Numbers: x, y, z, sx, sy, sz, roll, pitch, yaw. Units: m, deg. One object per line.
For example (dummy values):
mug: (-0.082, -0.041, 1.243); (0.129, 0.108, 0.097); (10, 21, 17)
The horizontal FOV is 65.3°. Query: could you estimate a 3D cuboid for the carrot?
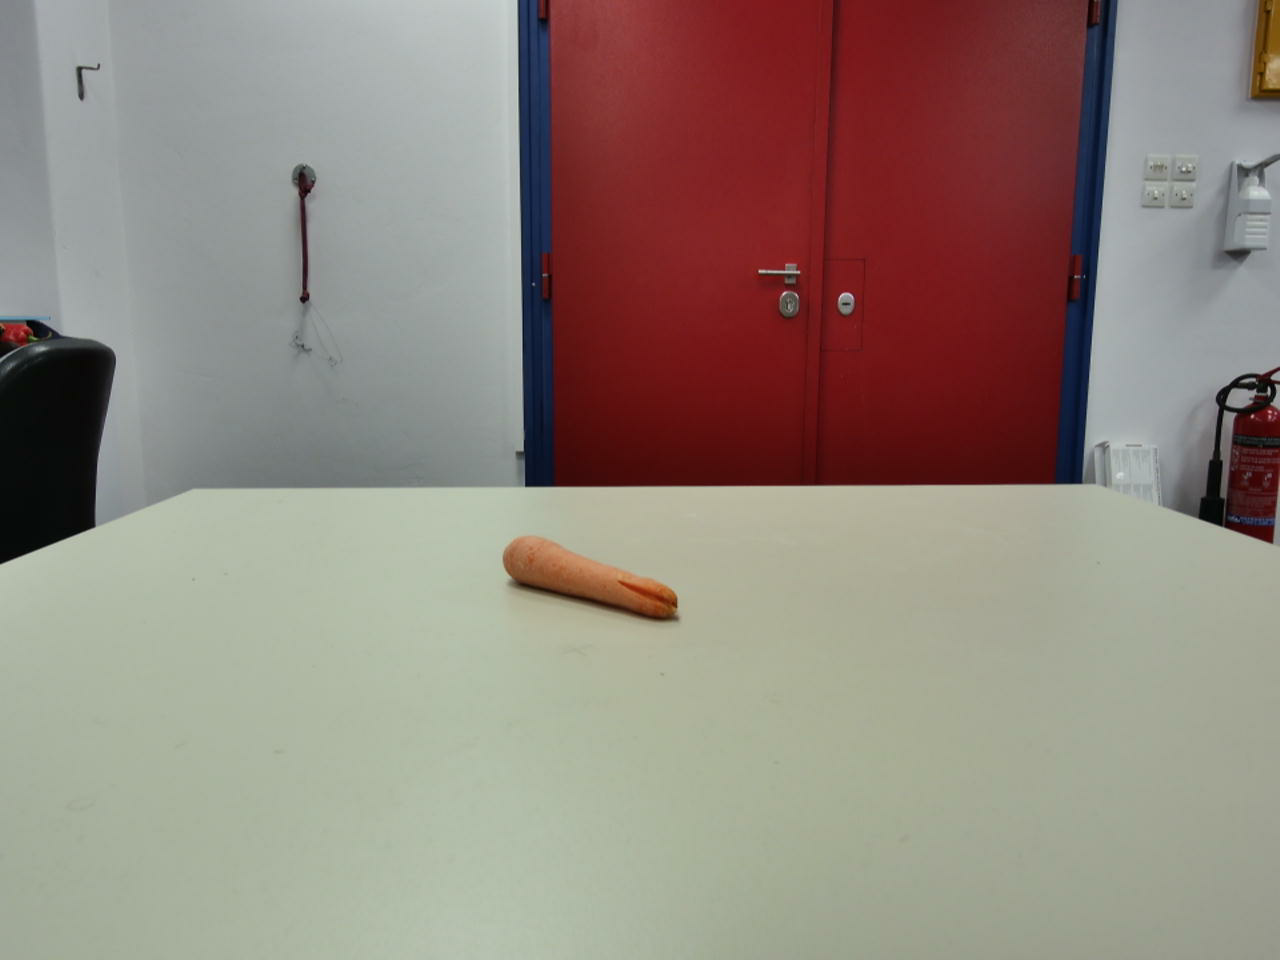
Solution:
carrot: (-0.031, 0.053, 0.572); (0.136, 0.032, 0.030); (7, 9, 44)
